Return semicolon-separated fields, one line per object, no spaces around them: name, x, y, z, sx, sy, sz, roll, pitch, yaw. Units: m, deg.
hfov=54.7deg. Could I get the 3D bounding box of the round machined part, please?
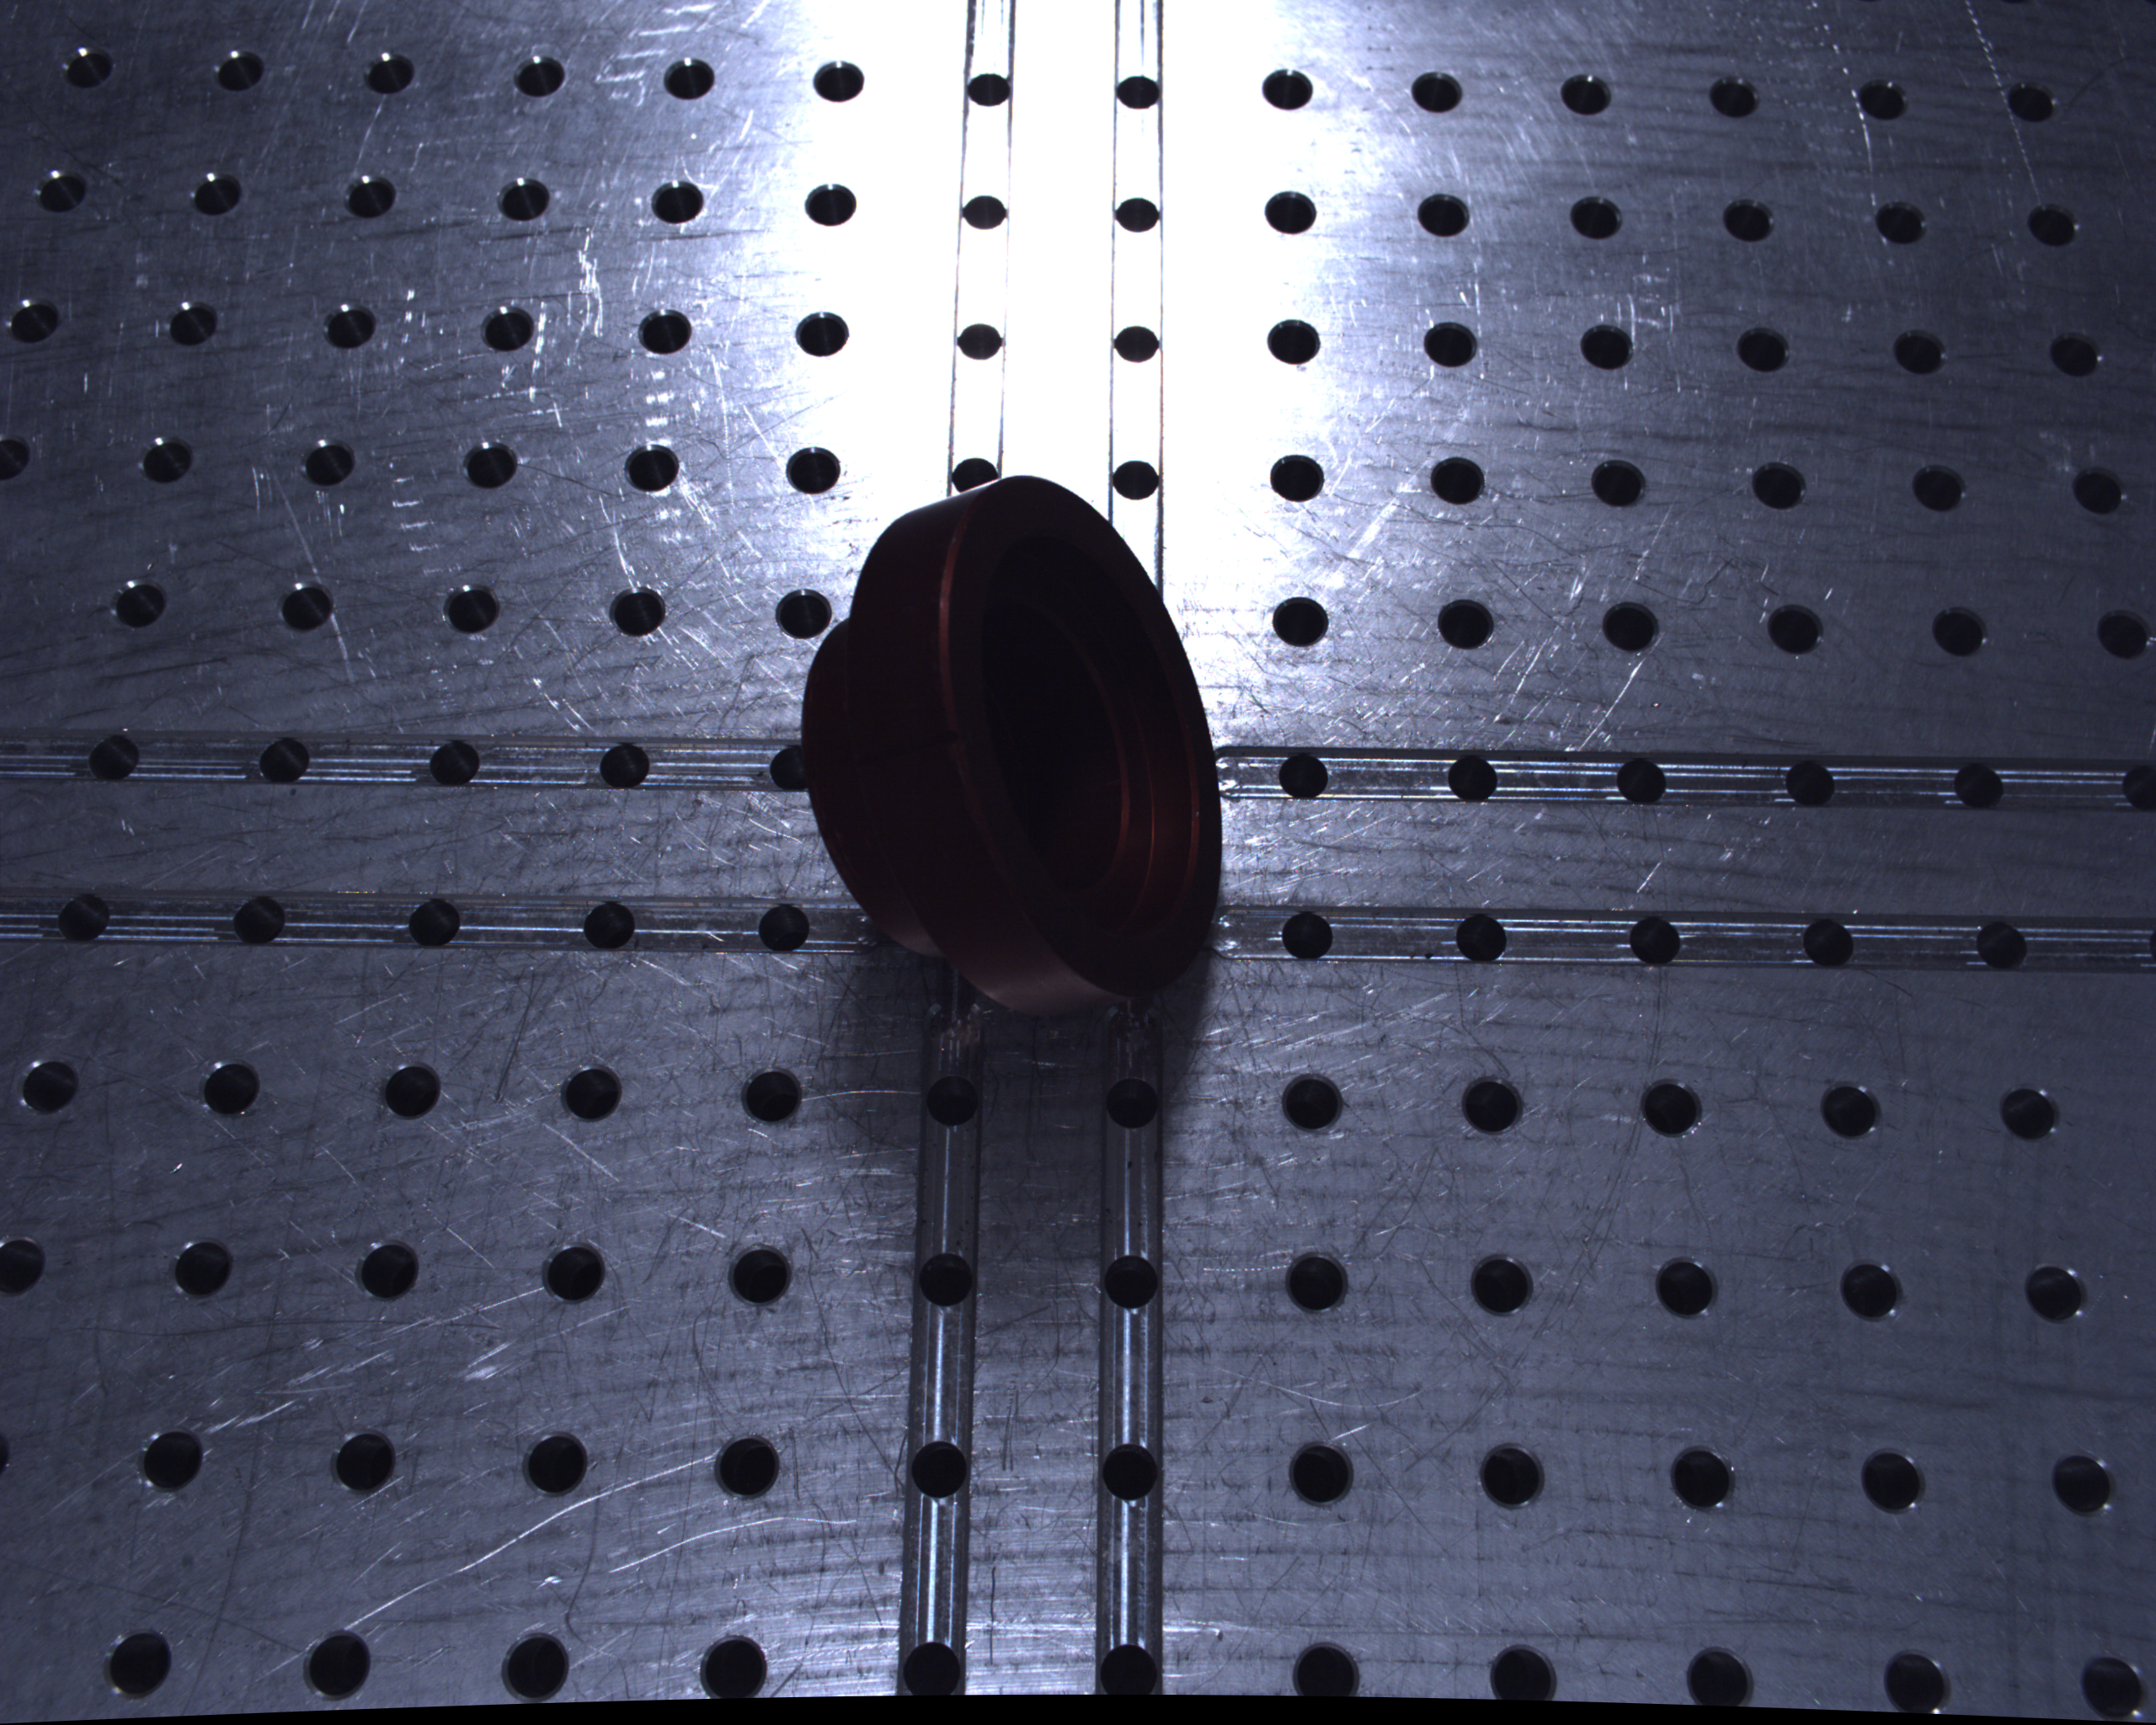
round machined part;-0.014;-0.020;0.389;0.042;0.098;0.098;-14;67;28
